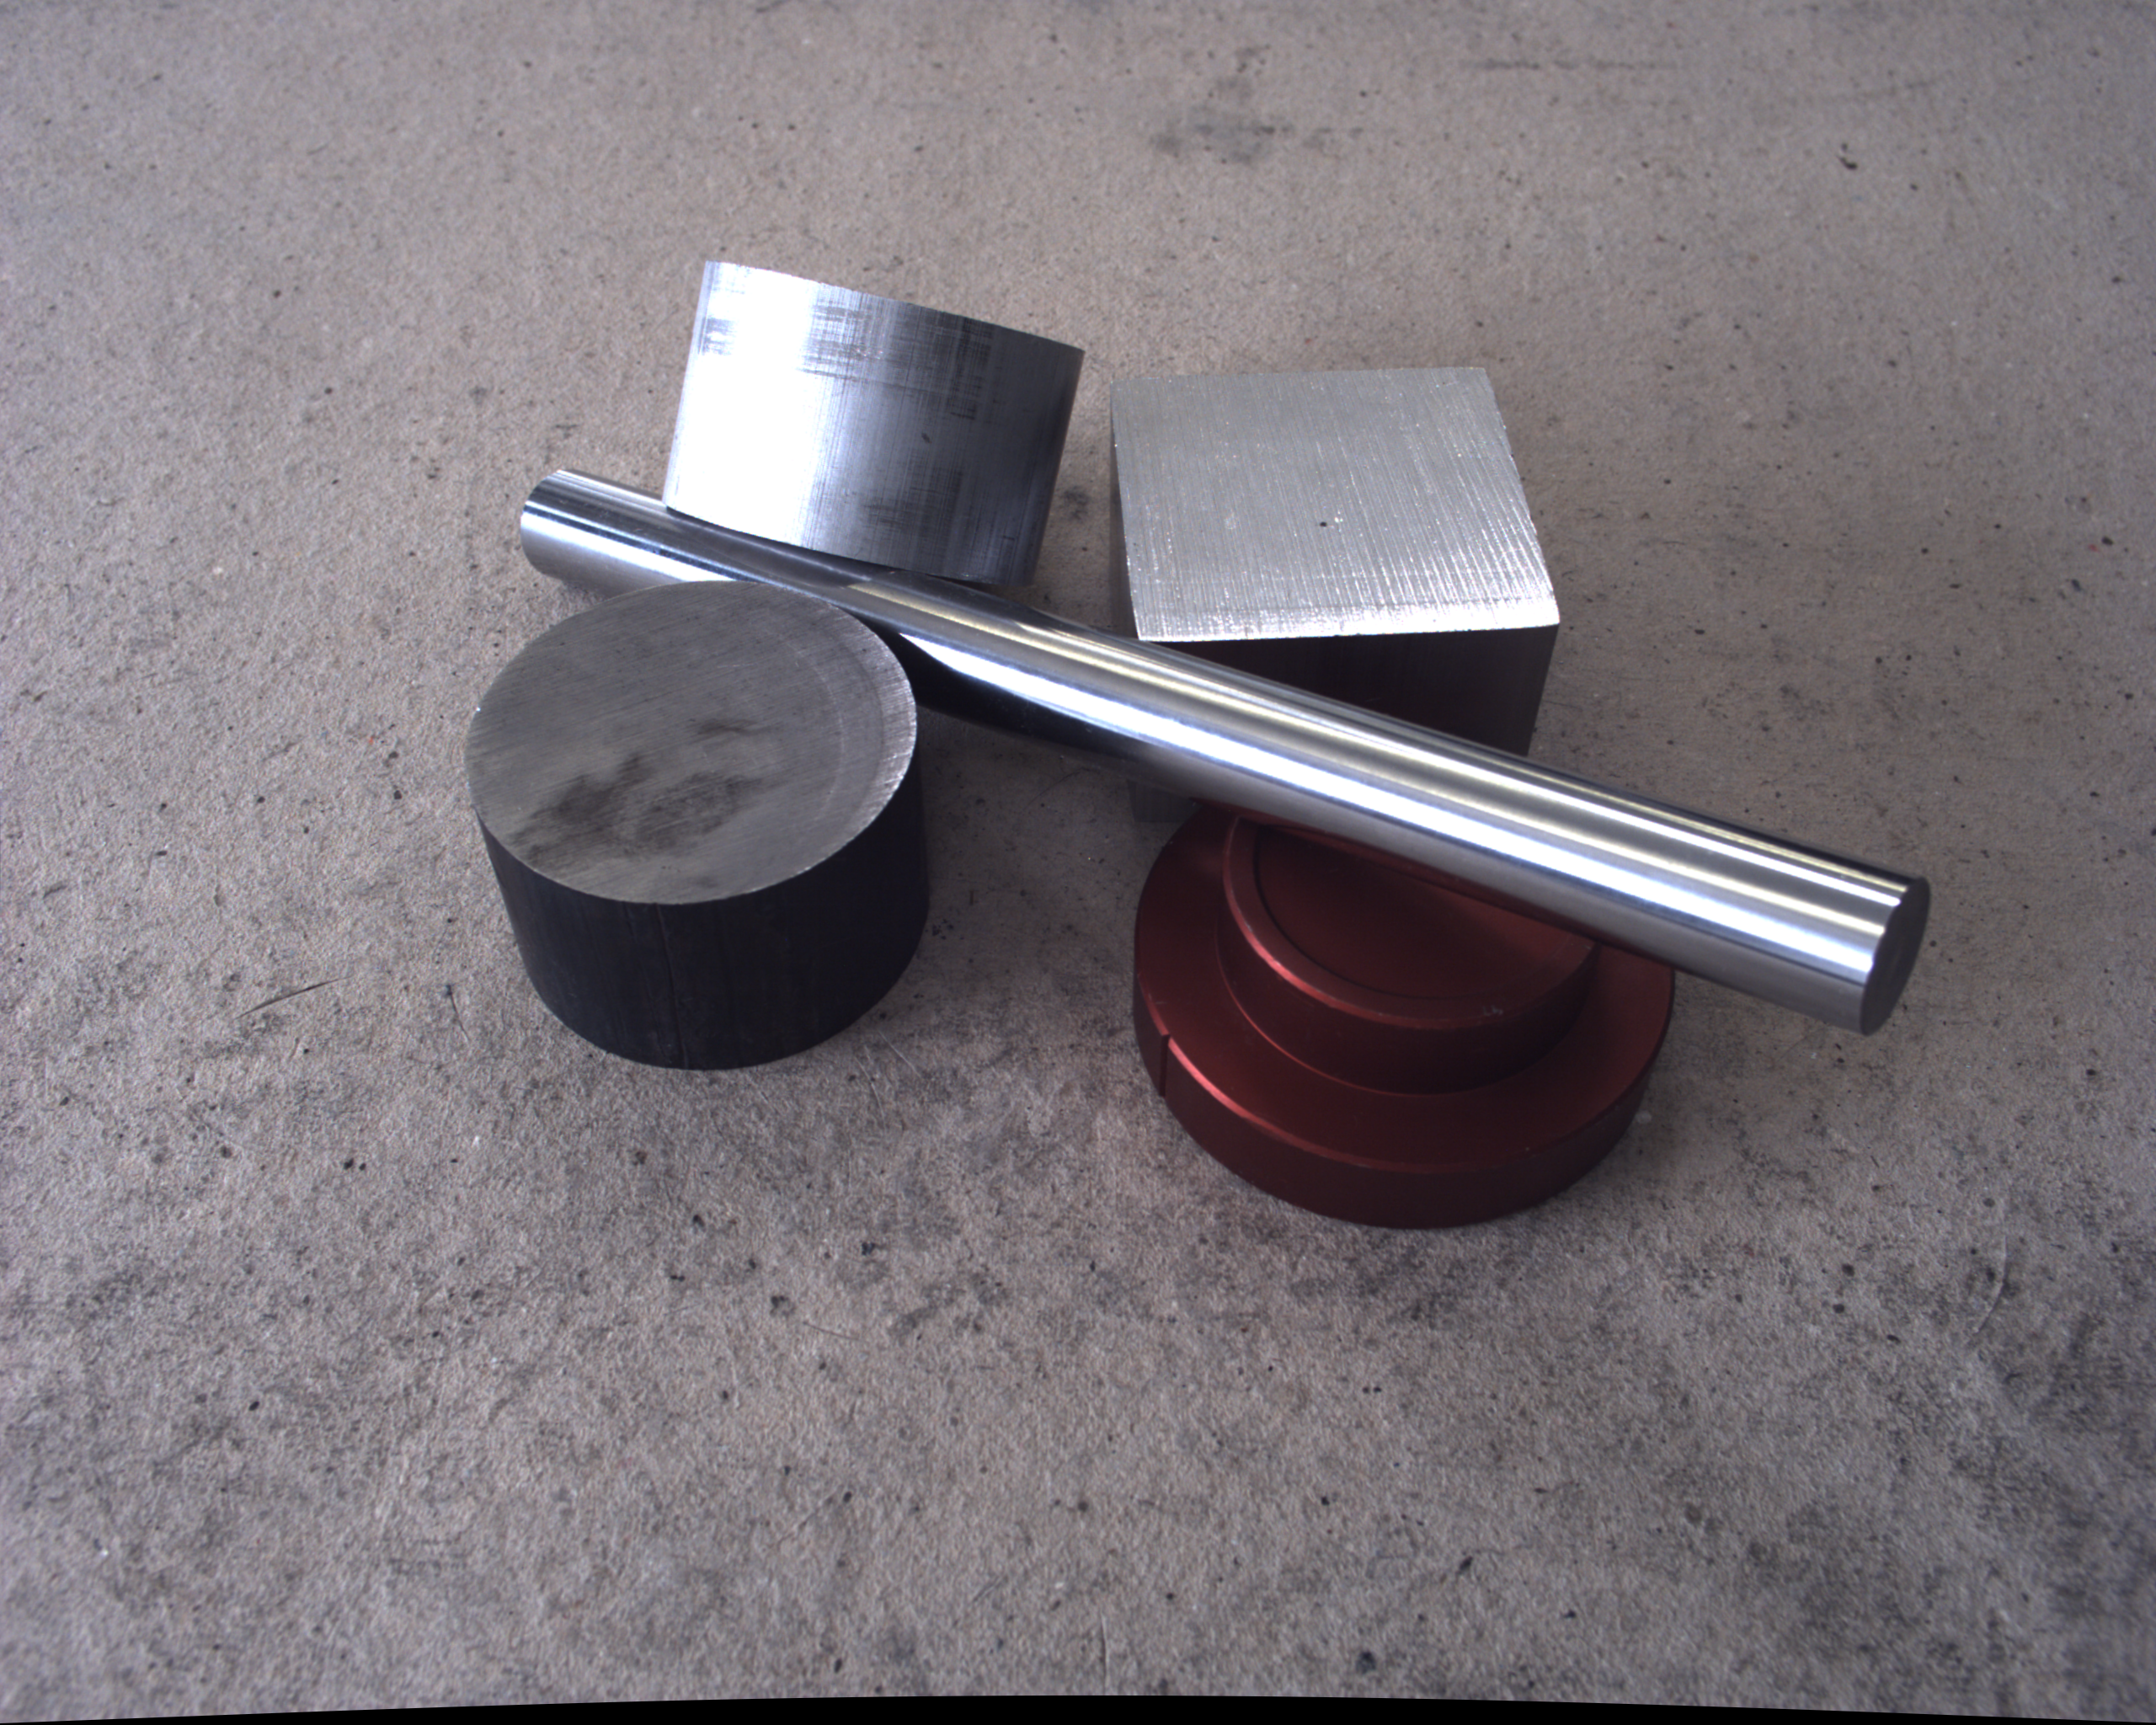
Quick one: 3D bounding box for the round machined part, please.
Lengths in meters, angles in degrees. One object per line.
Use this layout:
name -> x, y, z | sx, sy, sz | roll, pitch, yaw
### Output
round machined part -> 0.059, 0.014, 0.381 | 0.099, 0.042, 0.098 | 0, 50, 0

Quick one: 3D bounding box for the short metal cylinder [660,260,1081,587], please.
short metal cylinder -> -0.044, -0.092, 0.441 | 0.080, 0.050, 0.080 | 13, 12, -3

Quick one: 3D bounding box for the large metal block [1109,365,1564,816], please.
large metal block -> 0.049, -0.058, 0.435 | 0.081, 0.050, 0.080 | -2, 50, -2

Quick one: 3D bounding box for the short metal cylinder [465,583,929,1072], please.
short metal cylinder -> -0.069, -0.007, 0.395 | 0.081, 0.050, 0.080 | 0, 50, 0

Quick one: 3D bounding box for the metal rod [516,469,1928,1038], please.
metal rod -> 0.002, -0.031, 0.387 | 0.300, 0.025, 0.025 | 21, 52, 33
